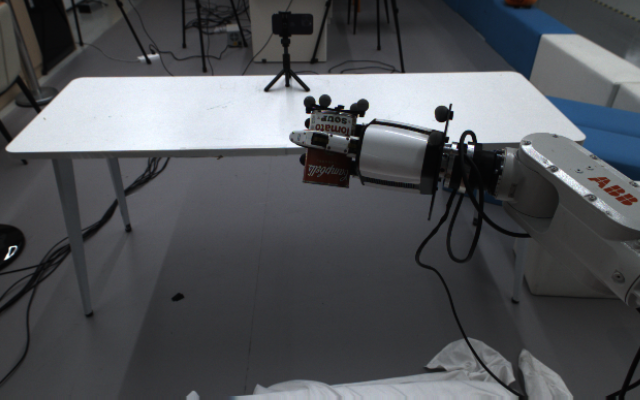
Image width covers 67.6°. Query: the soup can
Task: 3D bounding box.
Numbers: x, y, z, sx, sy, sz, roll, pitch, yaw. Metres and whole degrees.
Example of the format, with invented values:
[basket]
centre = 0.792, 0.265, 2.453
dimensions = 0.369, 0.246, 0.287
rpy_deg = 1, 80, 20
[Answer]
[soup can]
centre = 0.015, -0.071, 0.686
dimensions = 0.067, 0.101, 0.067
rpy_deg = 7, 3, 0
